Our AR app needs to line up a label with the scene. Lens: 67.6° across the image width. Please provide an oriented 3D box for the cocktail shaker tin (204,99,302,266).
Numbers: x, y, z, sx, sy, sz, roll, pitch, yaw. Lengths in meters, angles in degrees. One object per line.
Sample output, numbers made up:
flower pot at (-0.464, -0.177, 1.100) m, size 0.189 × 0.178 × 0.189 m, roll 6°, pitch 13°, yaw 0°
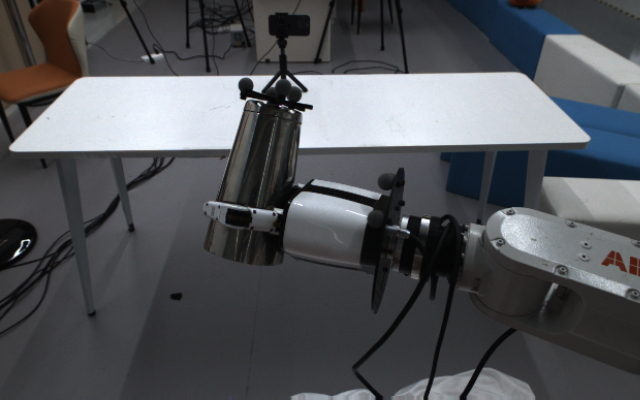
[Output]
cocktail shaker tin at (-0.069, -0.020, 0.550) m, size 0.093 × 0.170 × 0.093 m, roll 12°, pitch 4°, yaw -1°
